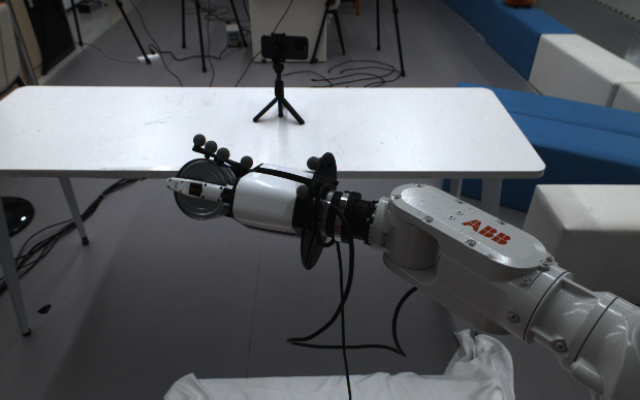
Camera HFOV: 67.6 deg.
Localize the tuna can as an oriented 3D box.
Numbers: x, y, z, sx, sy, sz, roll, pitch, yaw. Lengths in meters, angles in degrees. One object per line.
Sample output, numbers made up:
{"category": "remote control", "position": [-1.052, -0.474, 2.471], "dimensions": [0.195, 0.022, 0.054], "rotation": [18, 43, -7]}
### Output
{"category": "tuna can", "position": [-0.157, -0.015, 0.679], "dimensions": [0.085, 0.085, 0.034], "rotation": [13, 3, 16]}
